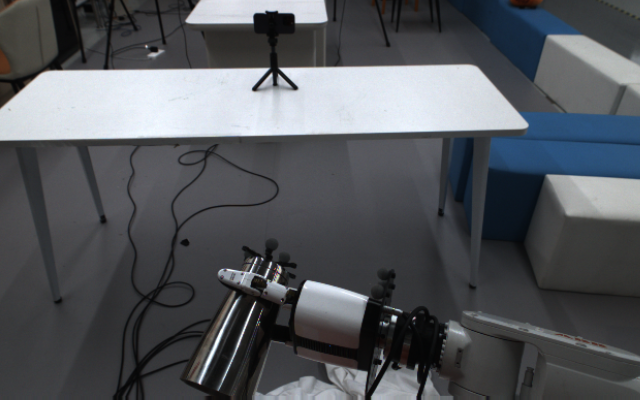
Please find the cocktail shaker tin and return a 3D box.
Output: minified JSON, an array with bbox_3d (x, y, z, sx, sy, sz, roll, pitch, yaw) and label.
[{"bbox_3d":[-0.099,0.163,0.620,0.093,0.093,0.170,13,60,15],"label":"cocktail shaker tin"}]
